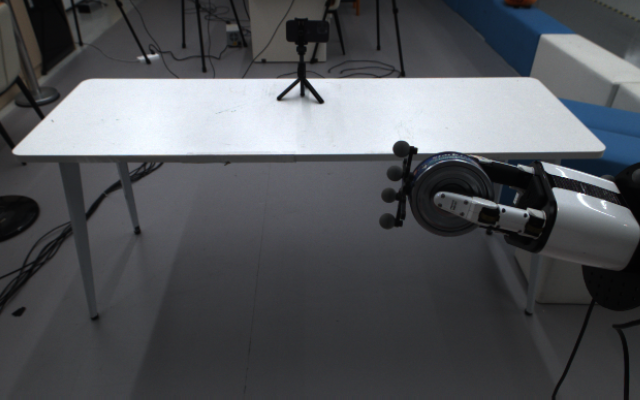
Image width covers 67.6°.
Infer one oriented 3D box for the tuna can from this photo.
[{"bbox_3d":[0.138,-0.008,0.509,0.085,0.085,0.034,4,17,3],"label":"tuna can"}]
